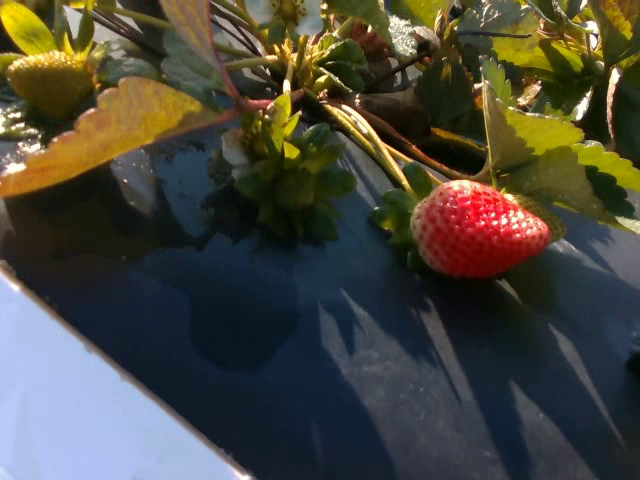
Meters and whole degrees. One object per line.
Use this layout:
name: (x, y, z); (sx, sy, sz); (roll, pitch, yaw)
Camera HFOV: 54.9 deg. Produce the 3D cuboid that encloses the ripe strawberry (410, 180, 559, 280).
ripe strawberry: (0.045, -0.001, 0.165); (0.042, 0.037, 0.045); (30, -20, -25)
